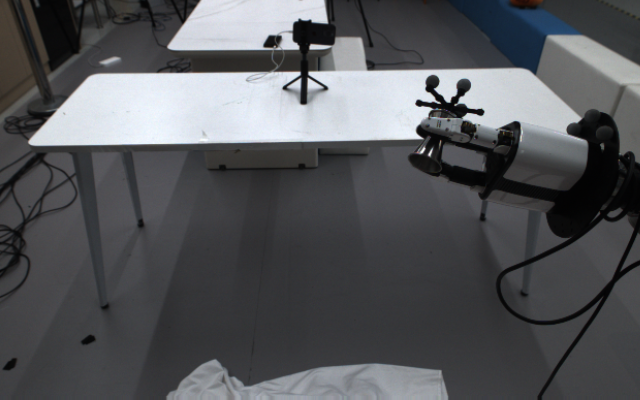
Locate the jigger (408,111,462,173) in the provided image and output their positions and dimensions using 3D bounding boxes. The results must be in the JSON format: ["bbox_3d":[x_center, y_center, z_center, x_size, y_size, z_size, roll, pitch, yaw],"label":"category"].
[{"bbox_3d":[0.142,-0.076,0.601,0.043,0.043,0.071,19,72,23],"label":"jigger"}]
